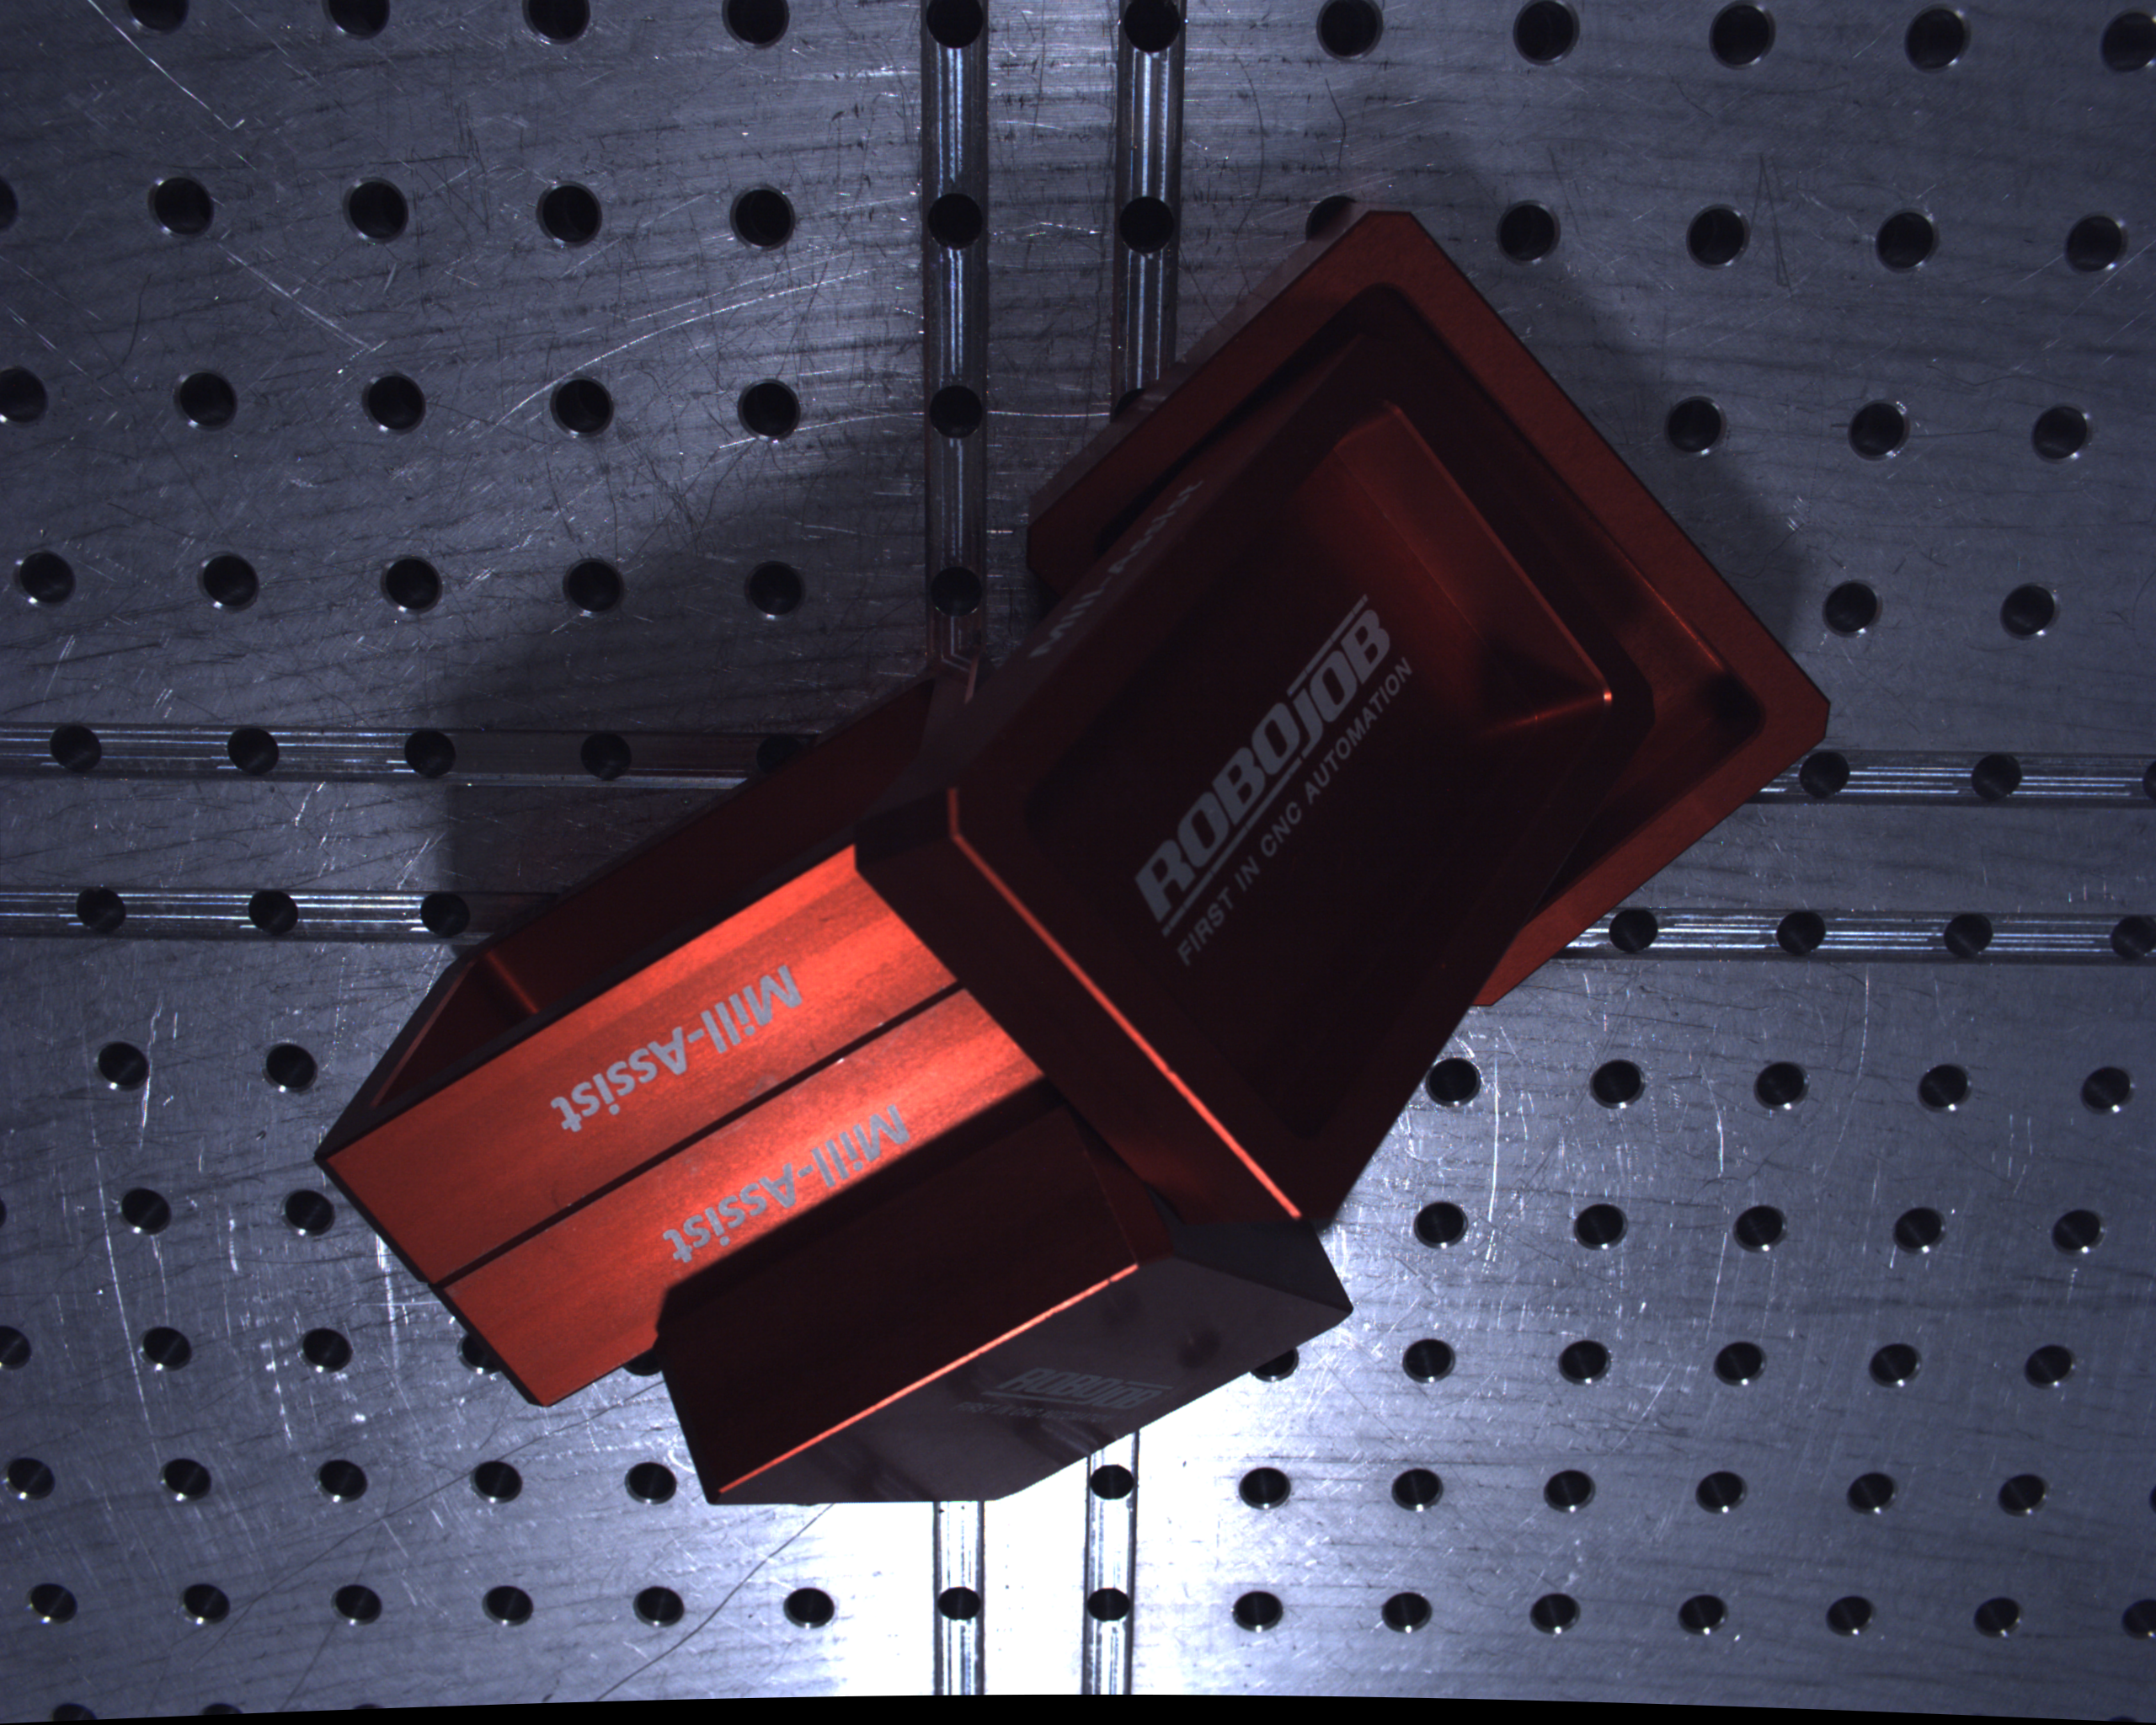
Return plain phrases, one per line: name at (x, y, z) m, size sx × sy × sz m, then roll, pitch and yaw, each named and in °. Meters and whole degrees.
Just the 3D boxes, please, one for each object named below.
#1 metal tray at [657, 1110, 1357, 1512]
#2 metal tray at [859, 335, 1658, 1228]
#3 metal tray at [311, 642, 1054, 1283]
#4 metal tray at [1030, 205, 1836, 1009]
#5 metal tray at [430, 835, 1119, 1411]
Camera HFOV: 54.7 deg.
metal tray at (-0.007, 0.089, 0.397) m, size 0.090 × 0.130 × 0.030 m, roll -31°, pitch 66°, yaw 11°
metal tray at (0.036, -0.015, 0.348) m, size 0.090 × 0.030 × 0.130 m, roll 49°, pitch 58°, yaw -16°
metal tray at (-0.067, 0.015, 0.383) m, size 0.130 × 0.090 × 0.030 m, roll -31°, pitch 108°, yaw 10°
metal tray at (0.066, -0.046, 0.394) m, size 0.090 × 0.030 × 0.130 m, roll -42°, pitch 105°, yaw 13°
metal tray at (-0.049, 0.039, 0.391) m, size 0.130 × 0.090 × 0.030 m, roll -31°, pitch 108°, yaw 10°
